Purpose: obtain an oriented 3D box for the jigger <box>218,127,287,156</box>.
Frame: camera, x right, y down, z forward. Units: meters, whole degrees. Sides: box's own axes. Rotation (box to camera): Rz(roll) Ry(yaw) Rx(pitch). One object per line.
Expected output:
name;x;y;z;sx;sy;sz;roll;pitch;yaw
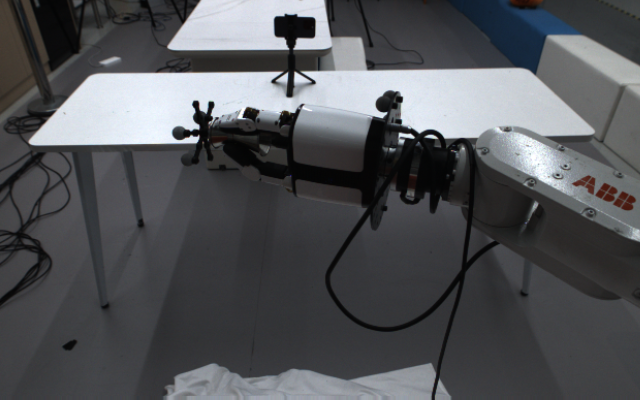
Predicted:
jigger;-0.093;-0.085;0.602;0.071;0.043;0.043;8;35;14
